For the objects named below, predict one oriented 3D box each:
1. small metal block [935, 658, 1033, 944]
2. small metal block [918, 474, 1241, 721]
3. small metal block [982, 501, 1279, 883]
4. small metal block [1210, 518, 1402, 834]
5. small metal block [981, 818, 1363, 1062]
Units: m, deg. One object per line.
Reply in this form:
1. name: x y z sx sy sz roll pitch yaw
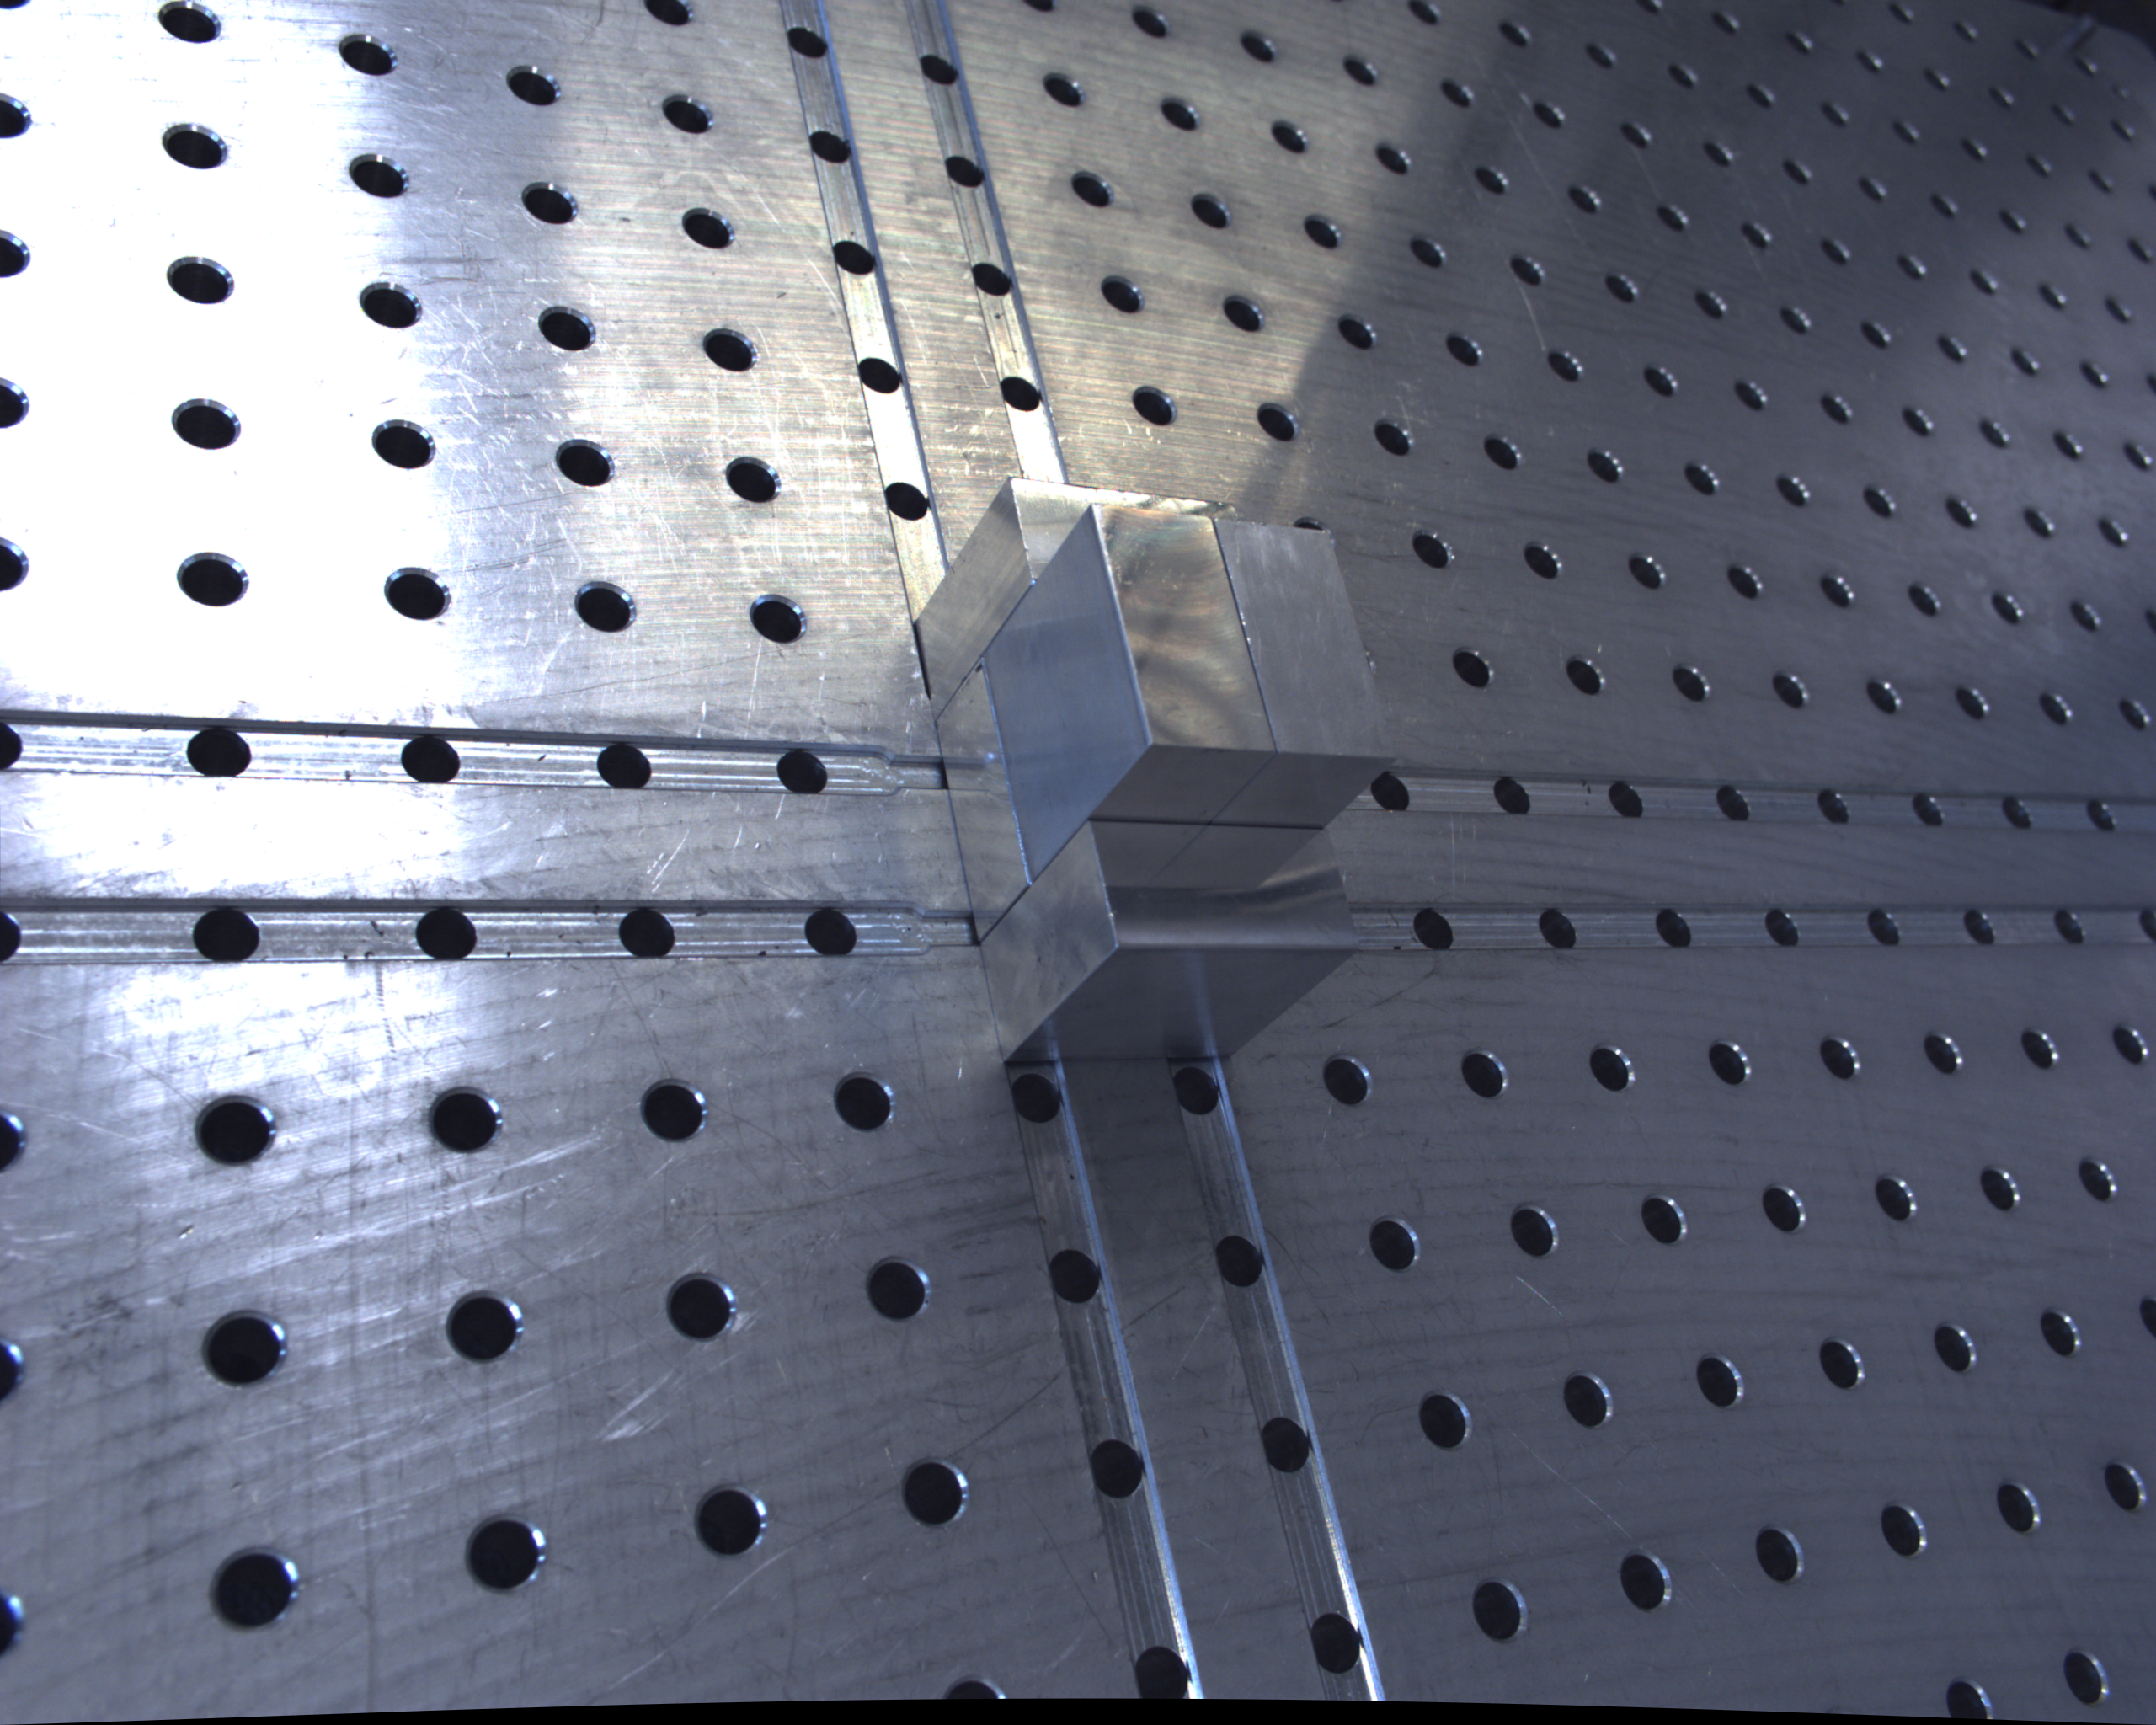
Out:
1. small metal block: 0.003 -0.012 0.416 0.050 0.025 0.050 1 61 -26
2. small metal block: 0.002 -0.051 0.422 0.050 0.050 0.025 2 61 -27
3. small metal block: 0.008 -0.030 0.381 0.025 0.050 0.050 2 61 -28
4. small metal block: 0.031 -0.029 0.394 0.025 0.050 0.050 1 61 -26
5. small metal block: 0.016 0.015 0.390 0.050 0.050 0.025 1 61 -27
